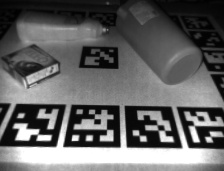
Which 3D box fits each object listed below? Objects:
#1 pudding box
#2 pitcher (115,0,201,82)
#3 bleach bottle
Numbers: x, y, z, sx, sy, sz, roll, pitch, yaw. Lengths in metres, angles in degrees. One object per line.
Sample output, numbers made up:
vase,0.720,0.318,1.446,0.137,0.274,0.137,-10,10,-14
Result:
pudding box,-0.193,-0.061,0.528,0.112,0.039,0.091,36,48,26
pitcher,0.126,-0.125,0.581,0.191,0.133,0.240,10,39,-45
bleach bottle,-0.138,-0.189,0.648,0.252,0.068,0.102,-1,50,-8
